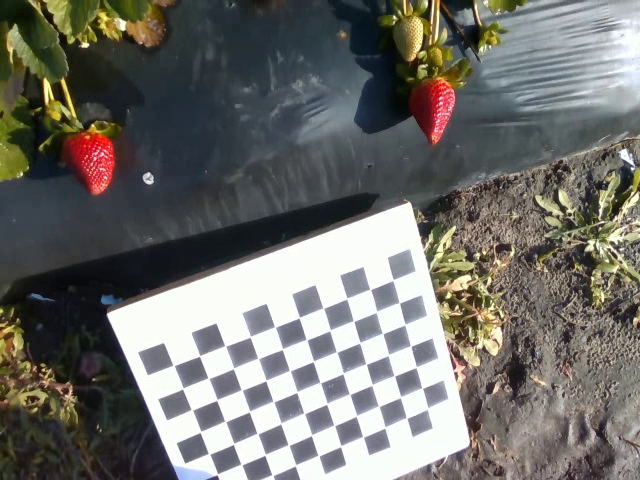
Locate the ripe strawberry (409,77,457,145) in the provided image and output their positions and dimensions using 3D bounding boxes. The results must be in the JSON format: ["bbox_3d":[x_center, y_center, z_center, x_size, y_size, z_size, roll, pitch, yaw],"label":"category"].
[{"bbox_3d":[0.087,-0.102,0.469,0.042,0.059,0.042,1,1,-19],"label":"ripe strawberry"}]

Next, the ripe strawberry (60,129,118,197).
[{"bbox_3d":[-0.174,-0.057,0.445,0.045,0.055,0.042,-13,-16,-16],"label":"ripe strawberry"}]
